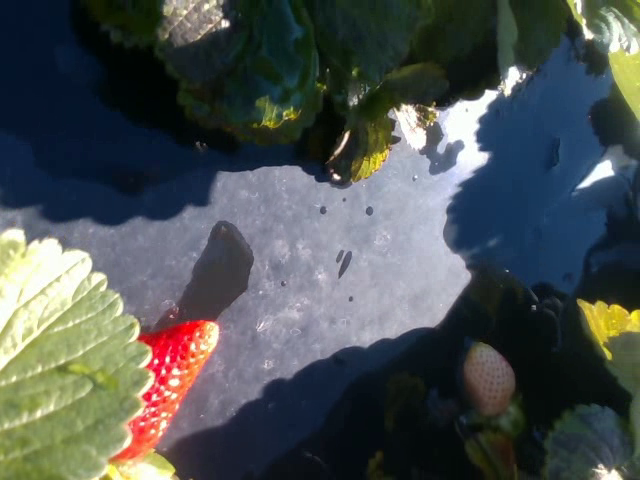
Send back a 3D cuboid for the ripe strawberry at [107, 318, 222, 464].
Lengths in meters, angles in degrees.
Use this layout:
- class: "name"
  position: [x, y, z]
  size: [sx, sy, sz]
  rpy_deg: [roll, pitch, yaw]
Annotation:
- class: "ripe strawberry"
  position: [-0.060, 0.045, 0.204]
  size: [0.052, 0.064, 0.050]
  rpy_deg: [42, -14, 30]
